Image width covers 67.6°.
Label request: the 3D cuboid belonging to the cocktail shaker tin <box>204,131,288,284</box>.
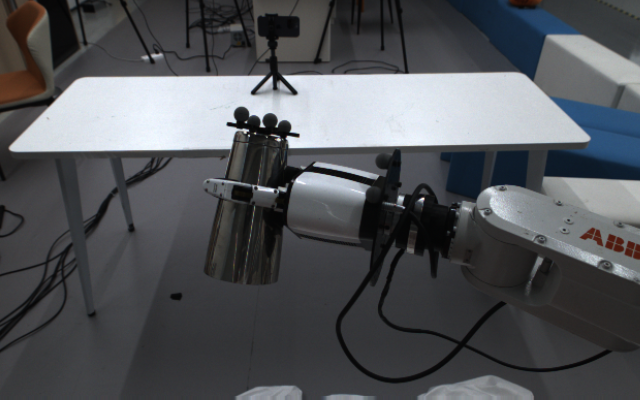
[{"bbox_3d":[-0.081,0.008,0.586,0.093,0.170,0.093,9,3,0],"label":"cocktail shaker tin"}]
